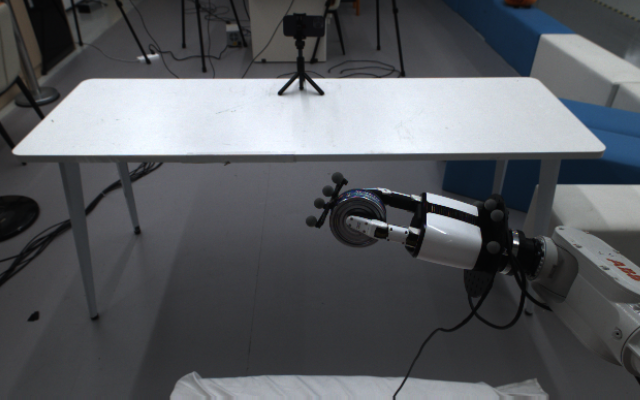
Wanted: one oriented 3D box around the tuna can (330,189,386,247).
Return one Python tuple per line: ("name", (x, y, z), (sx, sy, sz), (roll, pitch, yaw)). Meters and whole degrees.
("tuna can", (0.060, 0.026, 0.727), (0.085, 0.085, 0.034), (3, 21, 1))
